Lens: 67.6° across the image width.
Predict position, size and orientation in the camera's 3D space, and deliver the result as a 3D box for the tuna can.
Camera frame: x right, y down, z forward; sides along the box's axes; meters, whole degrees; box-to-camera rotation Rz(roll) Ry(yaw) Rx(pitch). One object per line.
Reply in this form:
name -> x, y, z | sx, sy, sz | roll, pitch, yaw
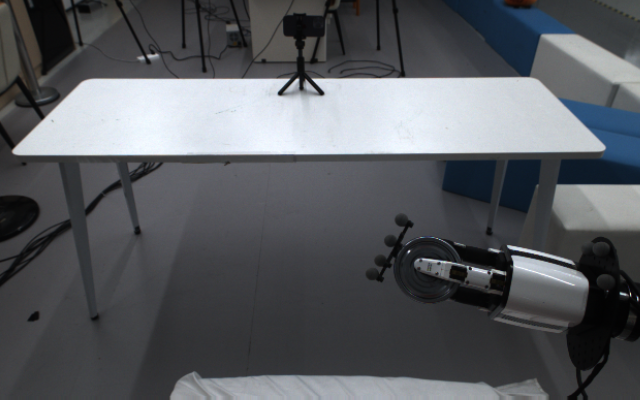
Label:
tuna can -> 0.140, 0.086, 0.616 | 0.085, 0.085, 0.034 | 9, -5, 10
